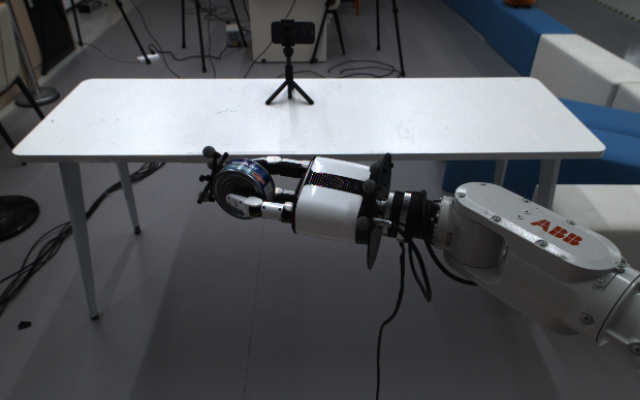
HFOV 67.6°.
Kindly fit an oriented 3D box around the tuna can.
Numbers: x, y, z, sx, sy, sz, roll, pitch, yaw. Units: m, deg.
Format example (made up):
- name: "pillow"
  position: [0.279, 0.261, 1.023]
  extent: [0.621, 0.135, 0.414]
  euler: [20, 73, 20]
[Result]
- name: "tuna can"
  position: [-0.108, -0.016, 0.690]
  extent: [0.085, 0.085, 0.034]
  euler: [11, 35, 13]
